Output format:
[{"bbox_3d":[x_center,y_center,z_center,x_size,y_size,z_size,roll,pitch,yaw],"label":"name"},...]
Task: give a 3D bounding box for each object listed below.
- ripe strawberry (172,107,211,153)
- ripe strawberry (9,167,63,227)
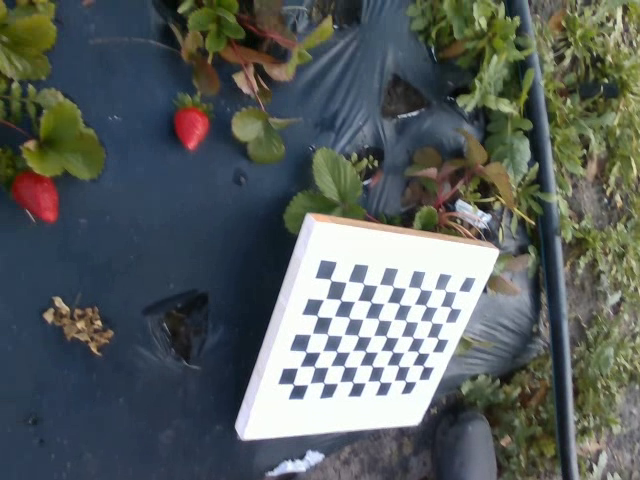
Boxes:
[{"bbox_3d":[-0.123,-0.102,0.737,0.041,0.052,0.044,-12,-28,22],"label":"ripe strawberry"},{"bbox_3d":[-0.244,-0.033,0.664,0.050,0.050,0.046,5,-48,-50],"label":"ripe strawberry"}]
